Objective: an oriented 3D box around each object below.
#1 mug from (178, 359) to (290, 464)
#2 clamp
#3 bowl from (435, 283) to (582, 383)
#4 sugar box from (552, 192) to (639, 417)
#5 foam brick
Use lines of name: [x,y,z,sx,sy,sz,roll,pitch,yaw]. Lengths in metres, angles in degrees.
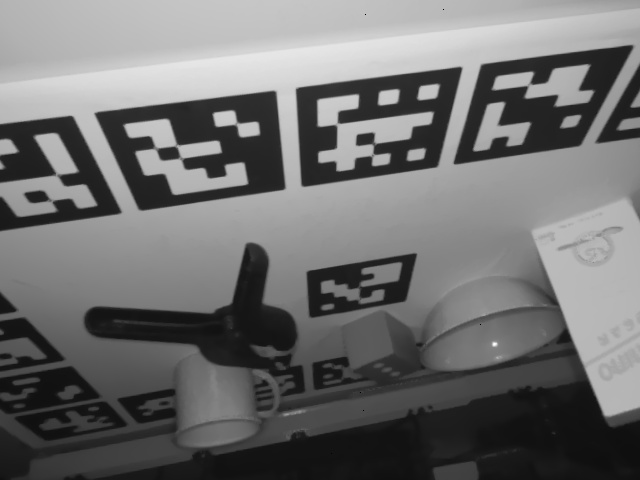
mug: [-0.087,0.176,0.721,0.118,0.082,0.092,11,138,-23]
clamp: [-0.062,0.080,0.635,0.164,0.037,0.203,-24,141,12]
bowl: [0.192,0.092,0.718,0.162,0.055,0.160,-8,143,-5]
sugar box: [0.270,0.048,0.584,0.092,0.177,0.045,-22,140,16]
foam brick: [0.076,0.119,0.732,0.052,0.051,0.078,-26,140,16]
